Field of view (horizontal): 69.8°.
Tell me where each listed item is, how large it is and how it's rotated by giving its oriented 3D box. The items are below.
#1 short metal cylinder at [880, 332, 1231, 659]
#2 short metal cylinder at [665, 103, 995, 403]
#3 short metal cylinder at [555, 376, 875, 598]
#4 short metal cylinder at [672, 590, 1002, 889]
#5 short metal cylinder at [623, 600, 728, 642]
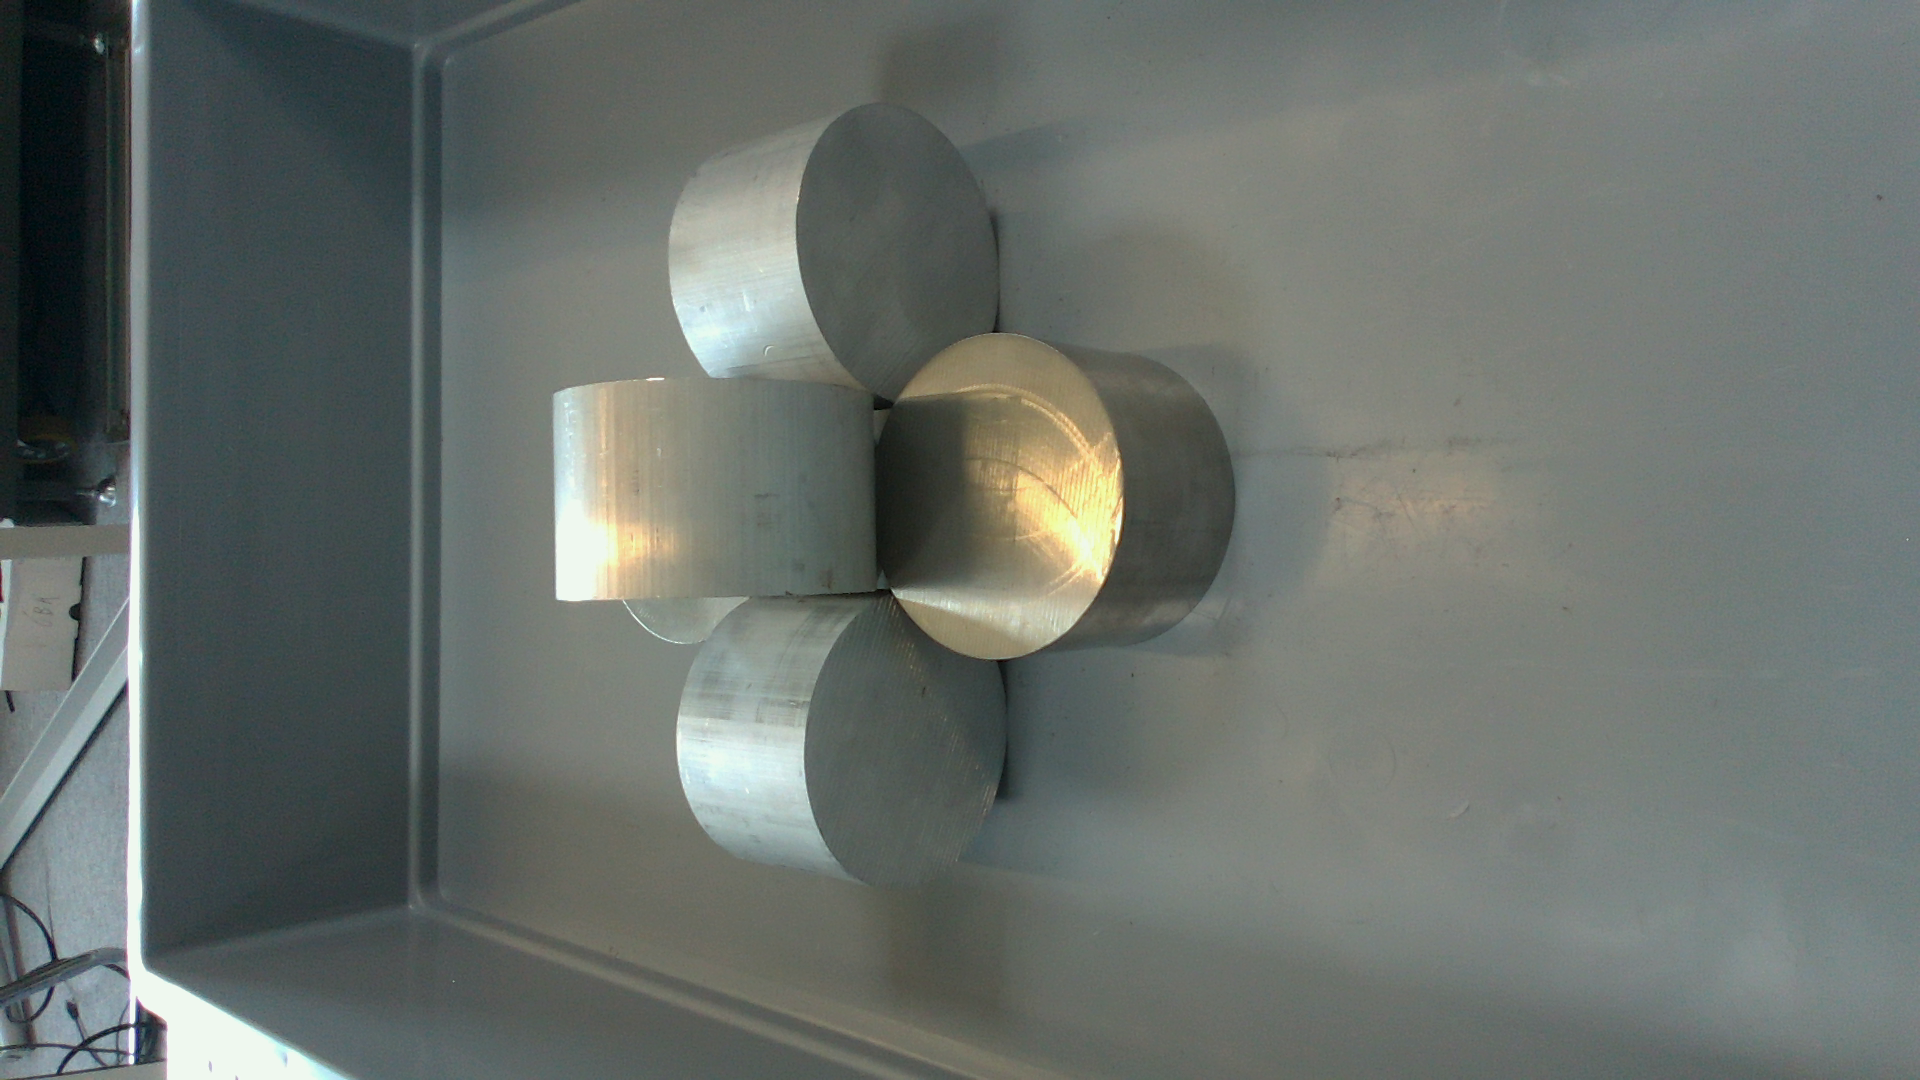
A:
[{"bbox_3d":[0.022,-0.011,0.357,0.080,0.050,0.080,0,90,40],"label":"short metal cylinder"},{"bbox_3d":[-0.035,-0.076,0.386,0.050,0.080,0.080,-3,88,40],"label":"short metal cylinder"},{"bbox_3d":[-0.062,-0.011,0.351,0.080,0.080,0.050,-2,89,40],"label":"short metal cylinder"},{"bbox_3d":[-0.033,0.054,0.384,0.050,0.080,0.080,-3,88,40],"label":"short metal cylinder"},{"bbox_3d":[-0.069,-0.009,0.435,0.080,0.050,0.080,0,90,40],"label":"short metal cylinder"}]
